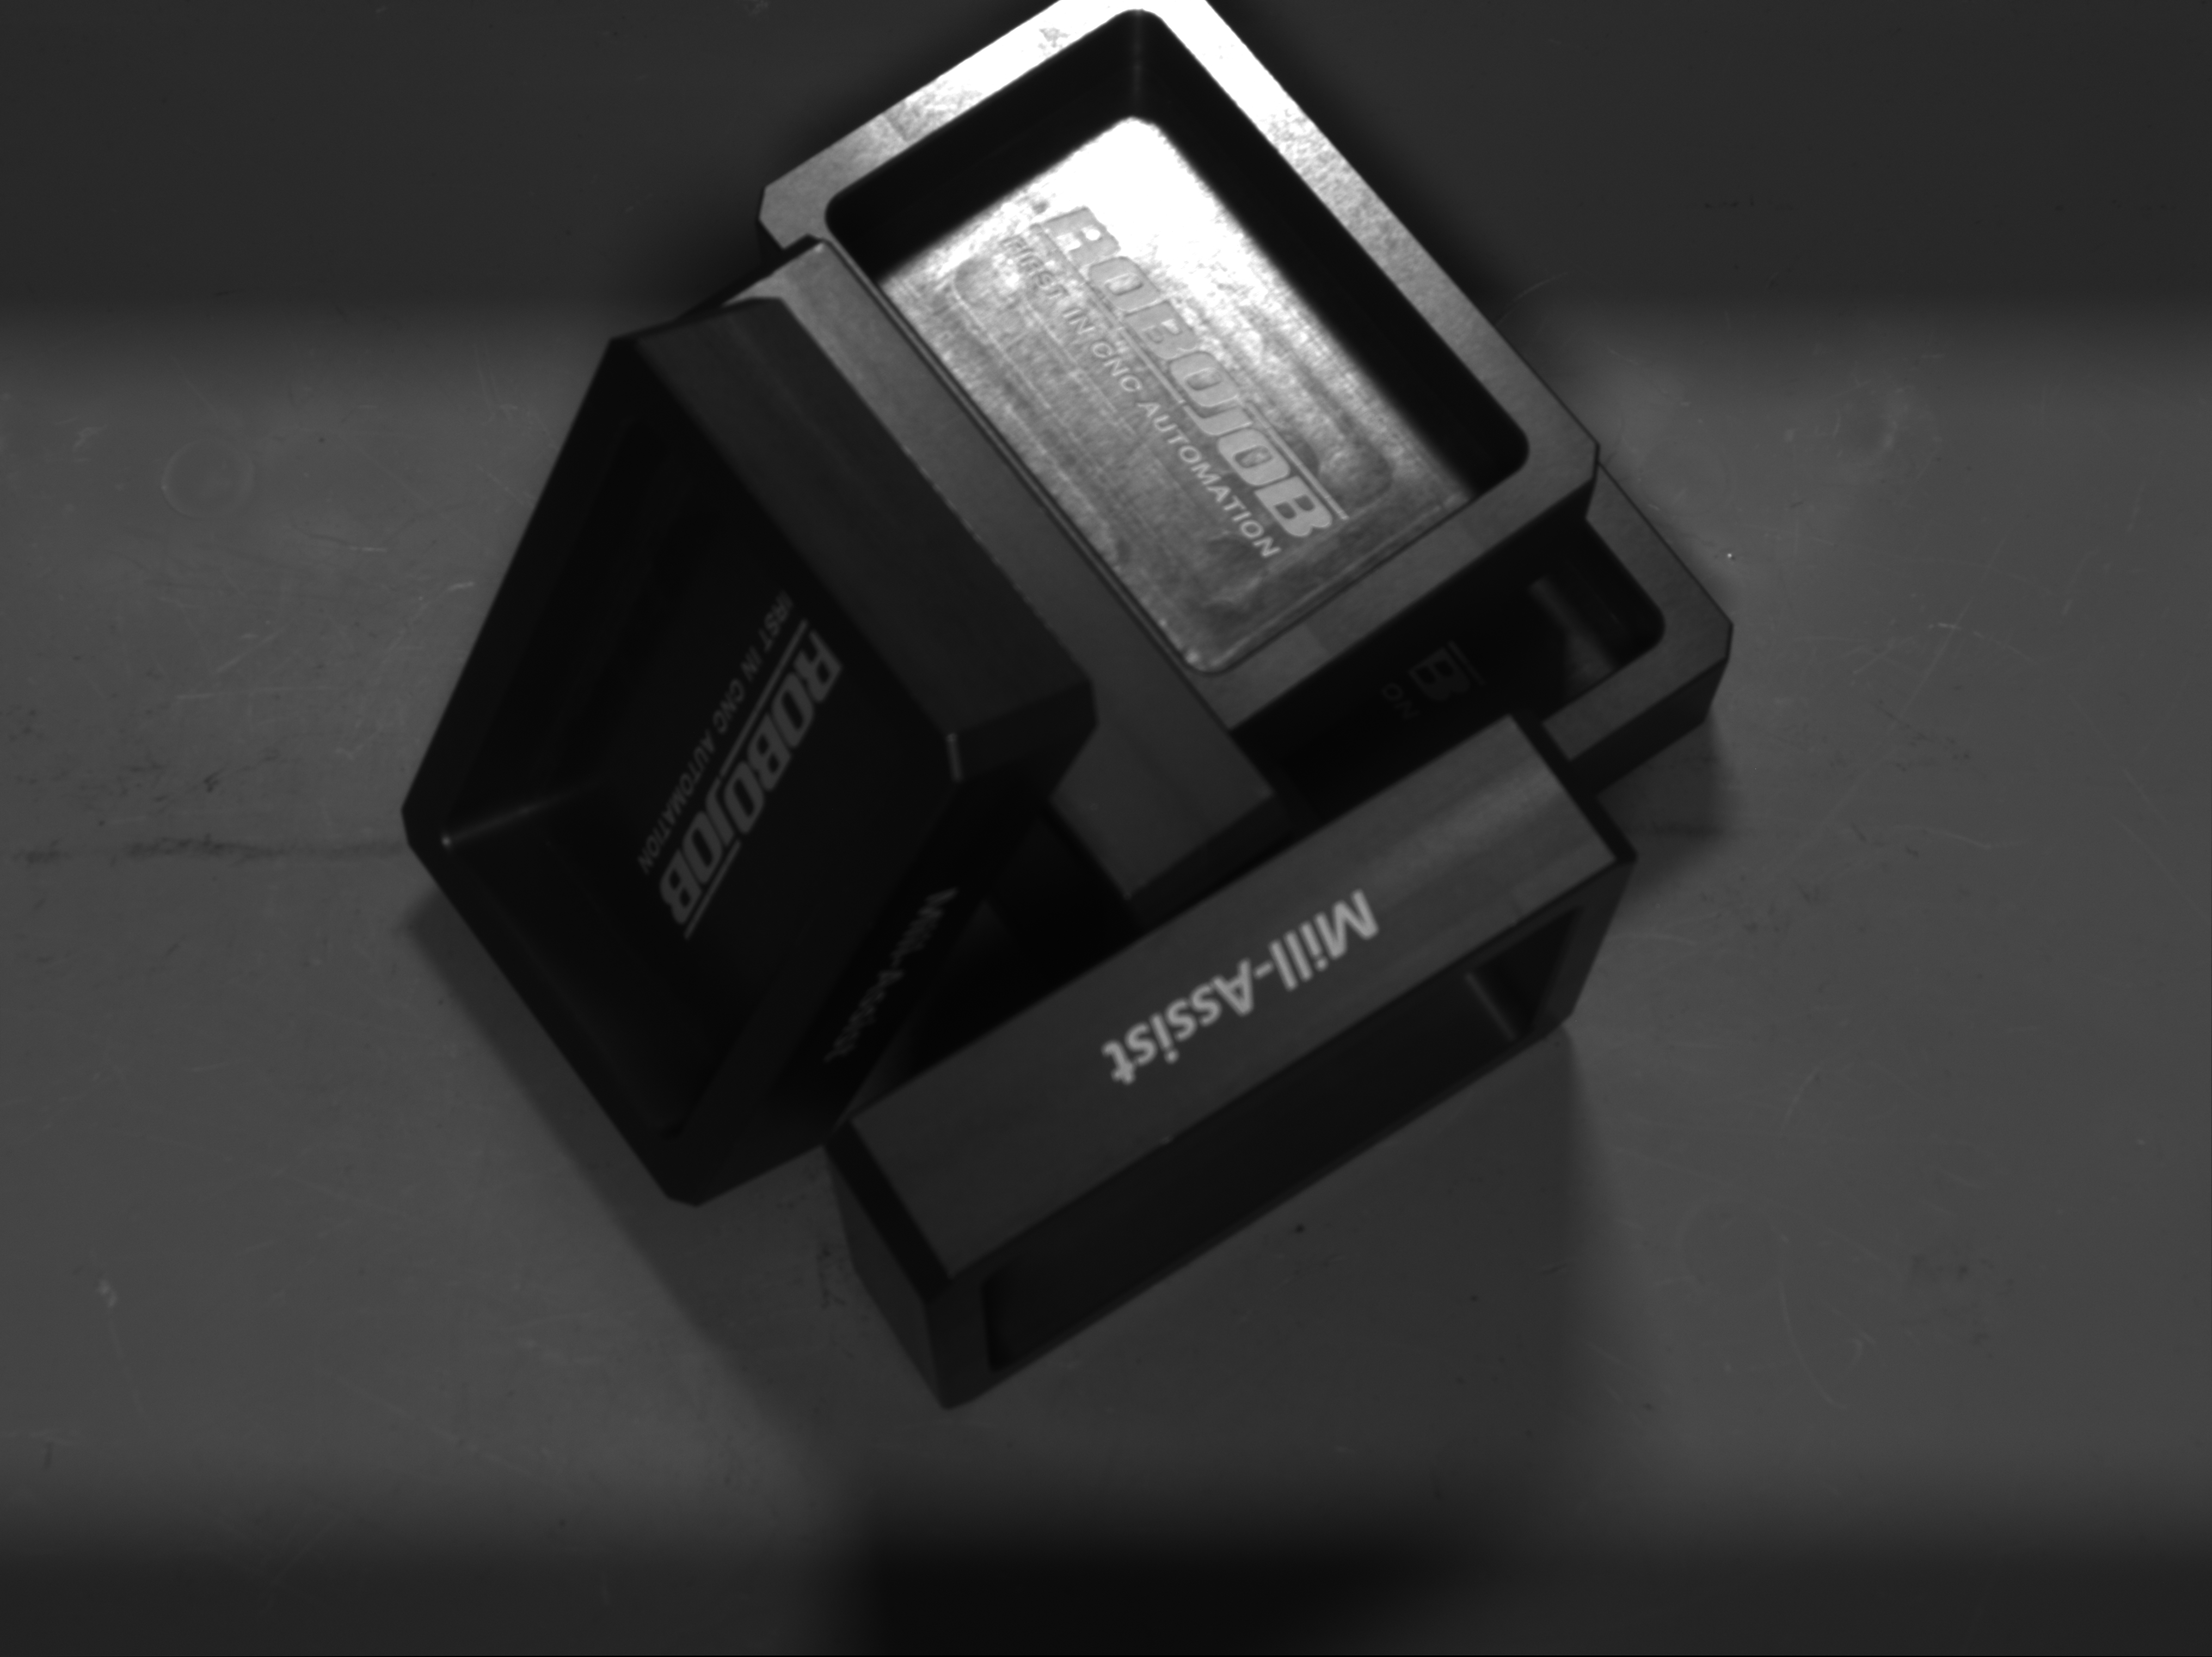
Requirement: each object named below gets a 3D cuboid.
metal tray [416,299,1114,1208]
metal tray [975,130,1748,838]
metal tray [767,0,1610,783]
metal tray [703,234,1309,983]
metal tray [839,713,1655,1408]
[{"bbox_3d":[-0.060,-0.010,0.593,0.030,0.130,0.090,-24,68,-41],"label":"metal tray"},{"bbox_3d":[0.042,-0.053,0.662,0.090,0.030,0.130,-33,72,-10],"label":"metal tray"},{"bbox_3d":[0.013,-0.079,0.638,0.090,0.030,0.130,-35,73,-11],"label":"metal tray"},{"bbox_3d":[-0.019,-0.027,0.618,0.030,0.090,0.130,-35,74,-12],"label":"metal tray"},{"bbox_3d":[0.022,0.040,0.594,0.130,0.090,0.030,-31,73,-11],"label":"metal tray"}]
